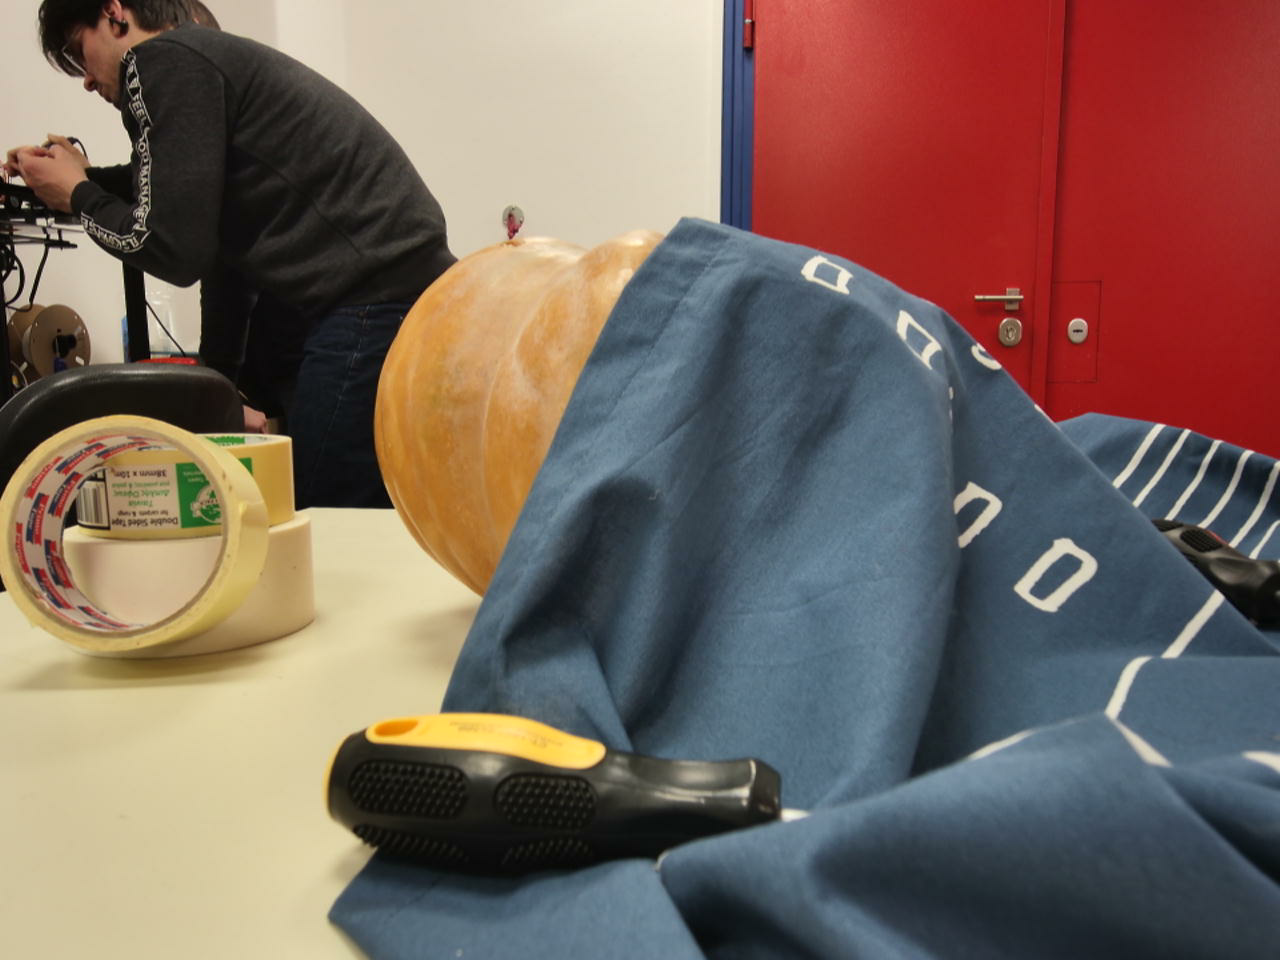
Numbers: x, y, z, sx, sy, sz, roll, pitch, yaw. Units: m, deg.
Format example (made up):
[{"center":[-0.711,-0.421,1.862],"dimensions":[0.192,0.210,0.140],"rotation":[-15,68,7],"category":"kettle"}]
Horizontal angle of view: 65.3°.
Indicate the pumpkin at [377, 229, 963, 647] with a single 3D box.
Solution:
[{"center":[0.012,-0.023,0.469],"dimensions":[0.277,0.181,0.277],"rotation":[0,5,0],"category":"pumpkin"}]
